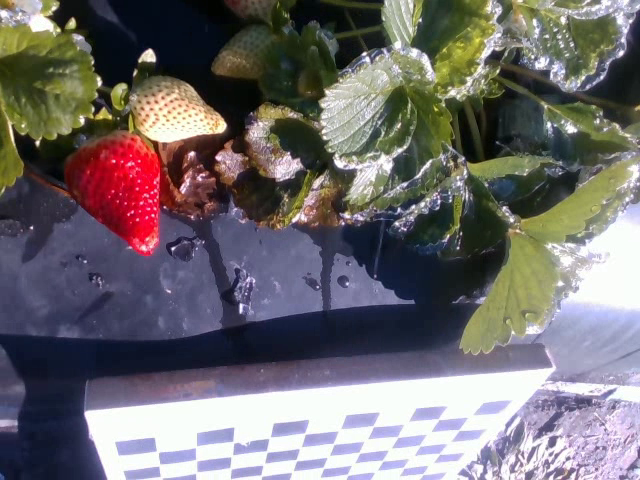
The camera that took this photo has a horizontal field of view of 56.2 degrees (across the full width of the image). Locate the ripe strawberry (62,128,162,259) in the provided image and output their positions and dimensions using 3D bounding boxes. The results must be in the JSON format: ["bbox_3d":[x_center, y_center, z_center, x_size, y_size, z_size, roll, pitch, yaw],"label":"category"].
[{"bbox_3d":[-0.078,-0.016,0.238,0.040,0.053,0.042,-27,-14,13],"label":"ripe strawberry"}]
